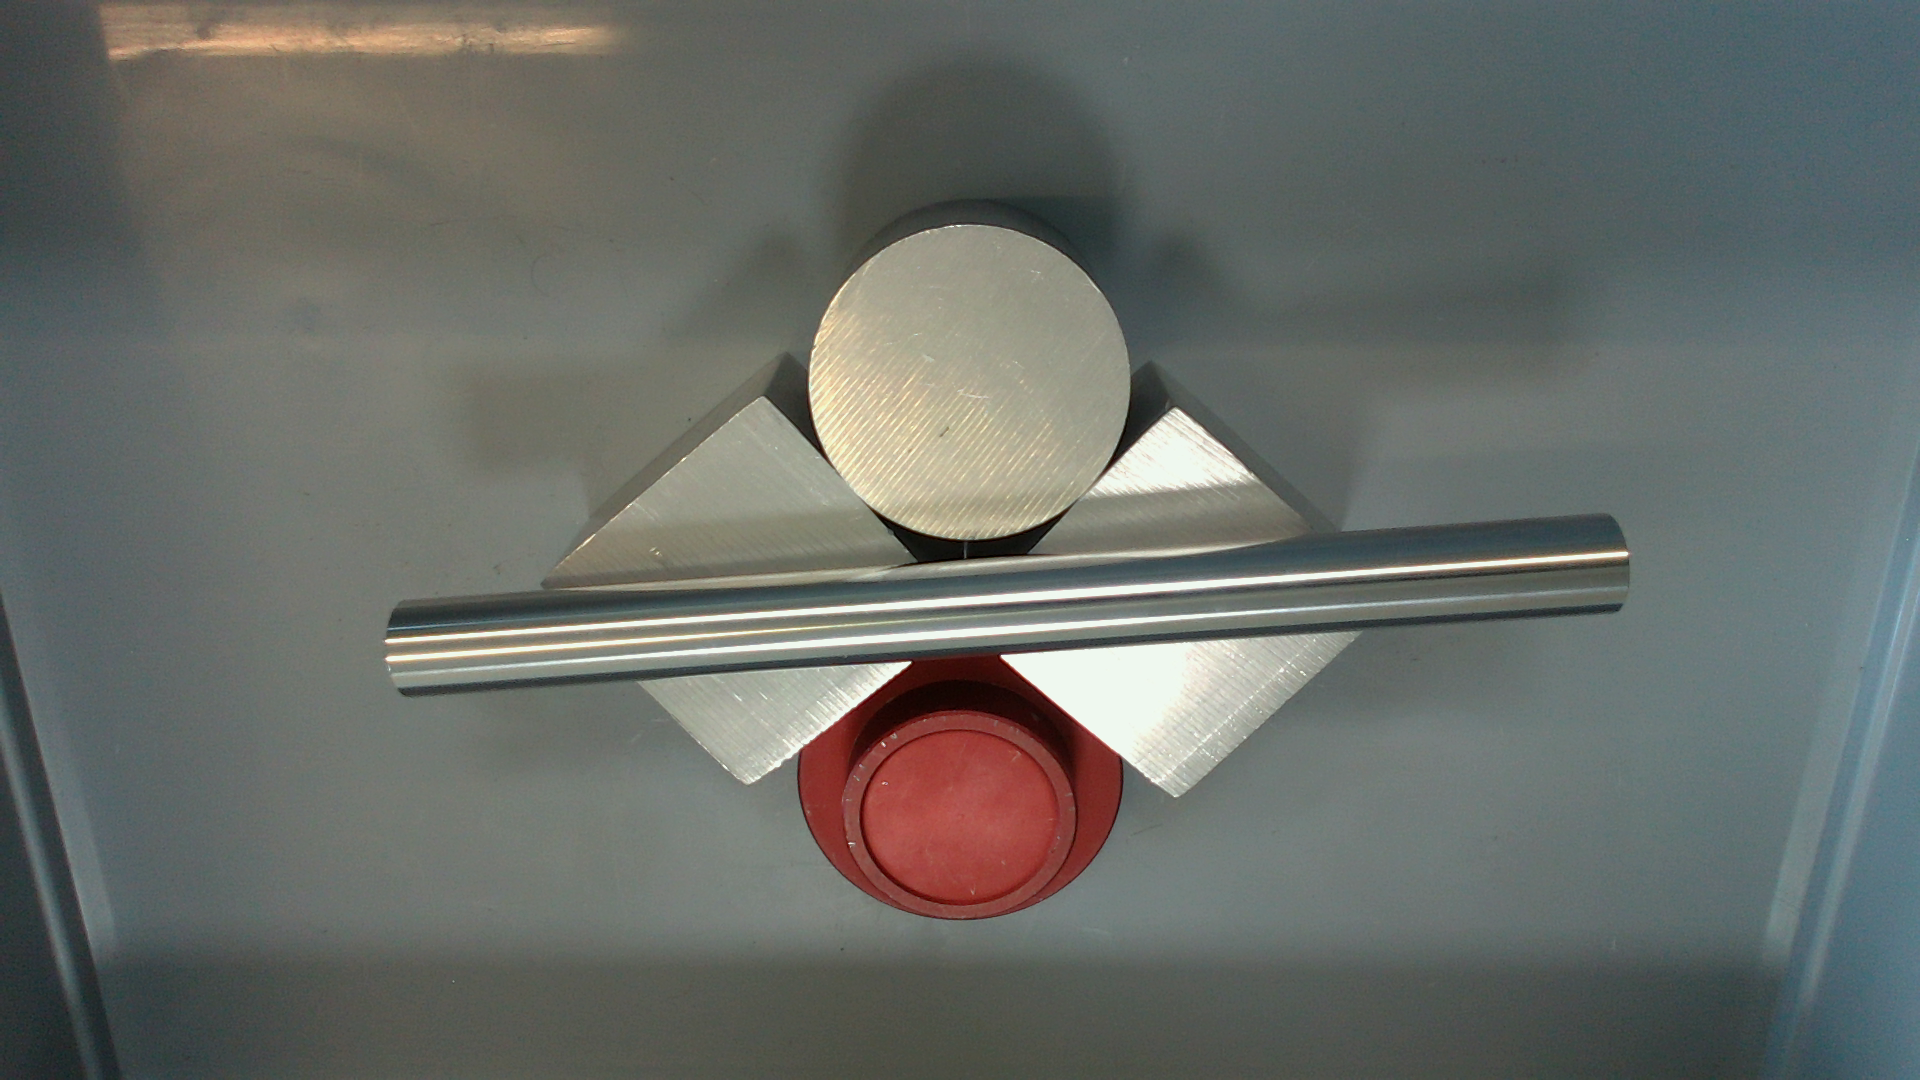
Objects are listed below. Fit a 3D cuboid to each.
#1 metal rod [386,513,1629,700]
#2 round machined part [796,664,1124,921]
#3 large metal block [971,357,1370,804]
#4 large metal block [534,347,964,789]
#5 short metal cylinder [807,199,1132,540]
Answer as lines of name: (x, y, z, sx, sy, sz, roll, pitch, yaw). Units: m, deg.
metal rod: (0.010, 0.017, 0.344, 0.300, 0.025, 0.025, -4, 110, 2)
round machined part: (0.000, 0.073, 0.410, 0.098, 0.042, 0.098, 0, 110, 0)
large metal block: (0.058, 0.011, 0.381, 0.080, 0.050, 0.080, 40, 106, -13)
large metal block: (-0.055, 0.007, 0.381, 0.080, 0.050, 0.080, -38, 108, 12)
short metal cylinder: (0.002, -0.046, 0.362, 0.080, 0.050, 0.080, 0, 110, 0)
